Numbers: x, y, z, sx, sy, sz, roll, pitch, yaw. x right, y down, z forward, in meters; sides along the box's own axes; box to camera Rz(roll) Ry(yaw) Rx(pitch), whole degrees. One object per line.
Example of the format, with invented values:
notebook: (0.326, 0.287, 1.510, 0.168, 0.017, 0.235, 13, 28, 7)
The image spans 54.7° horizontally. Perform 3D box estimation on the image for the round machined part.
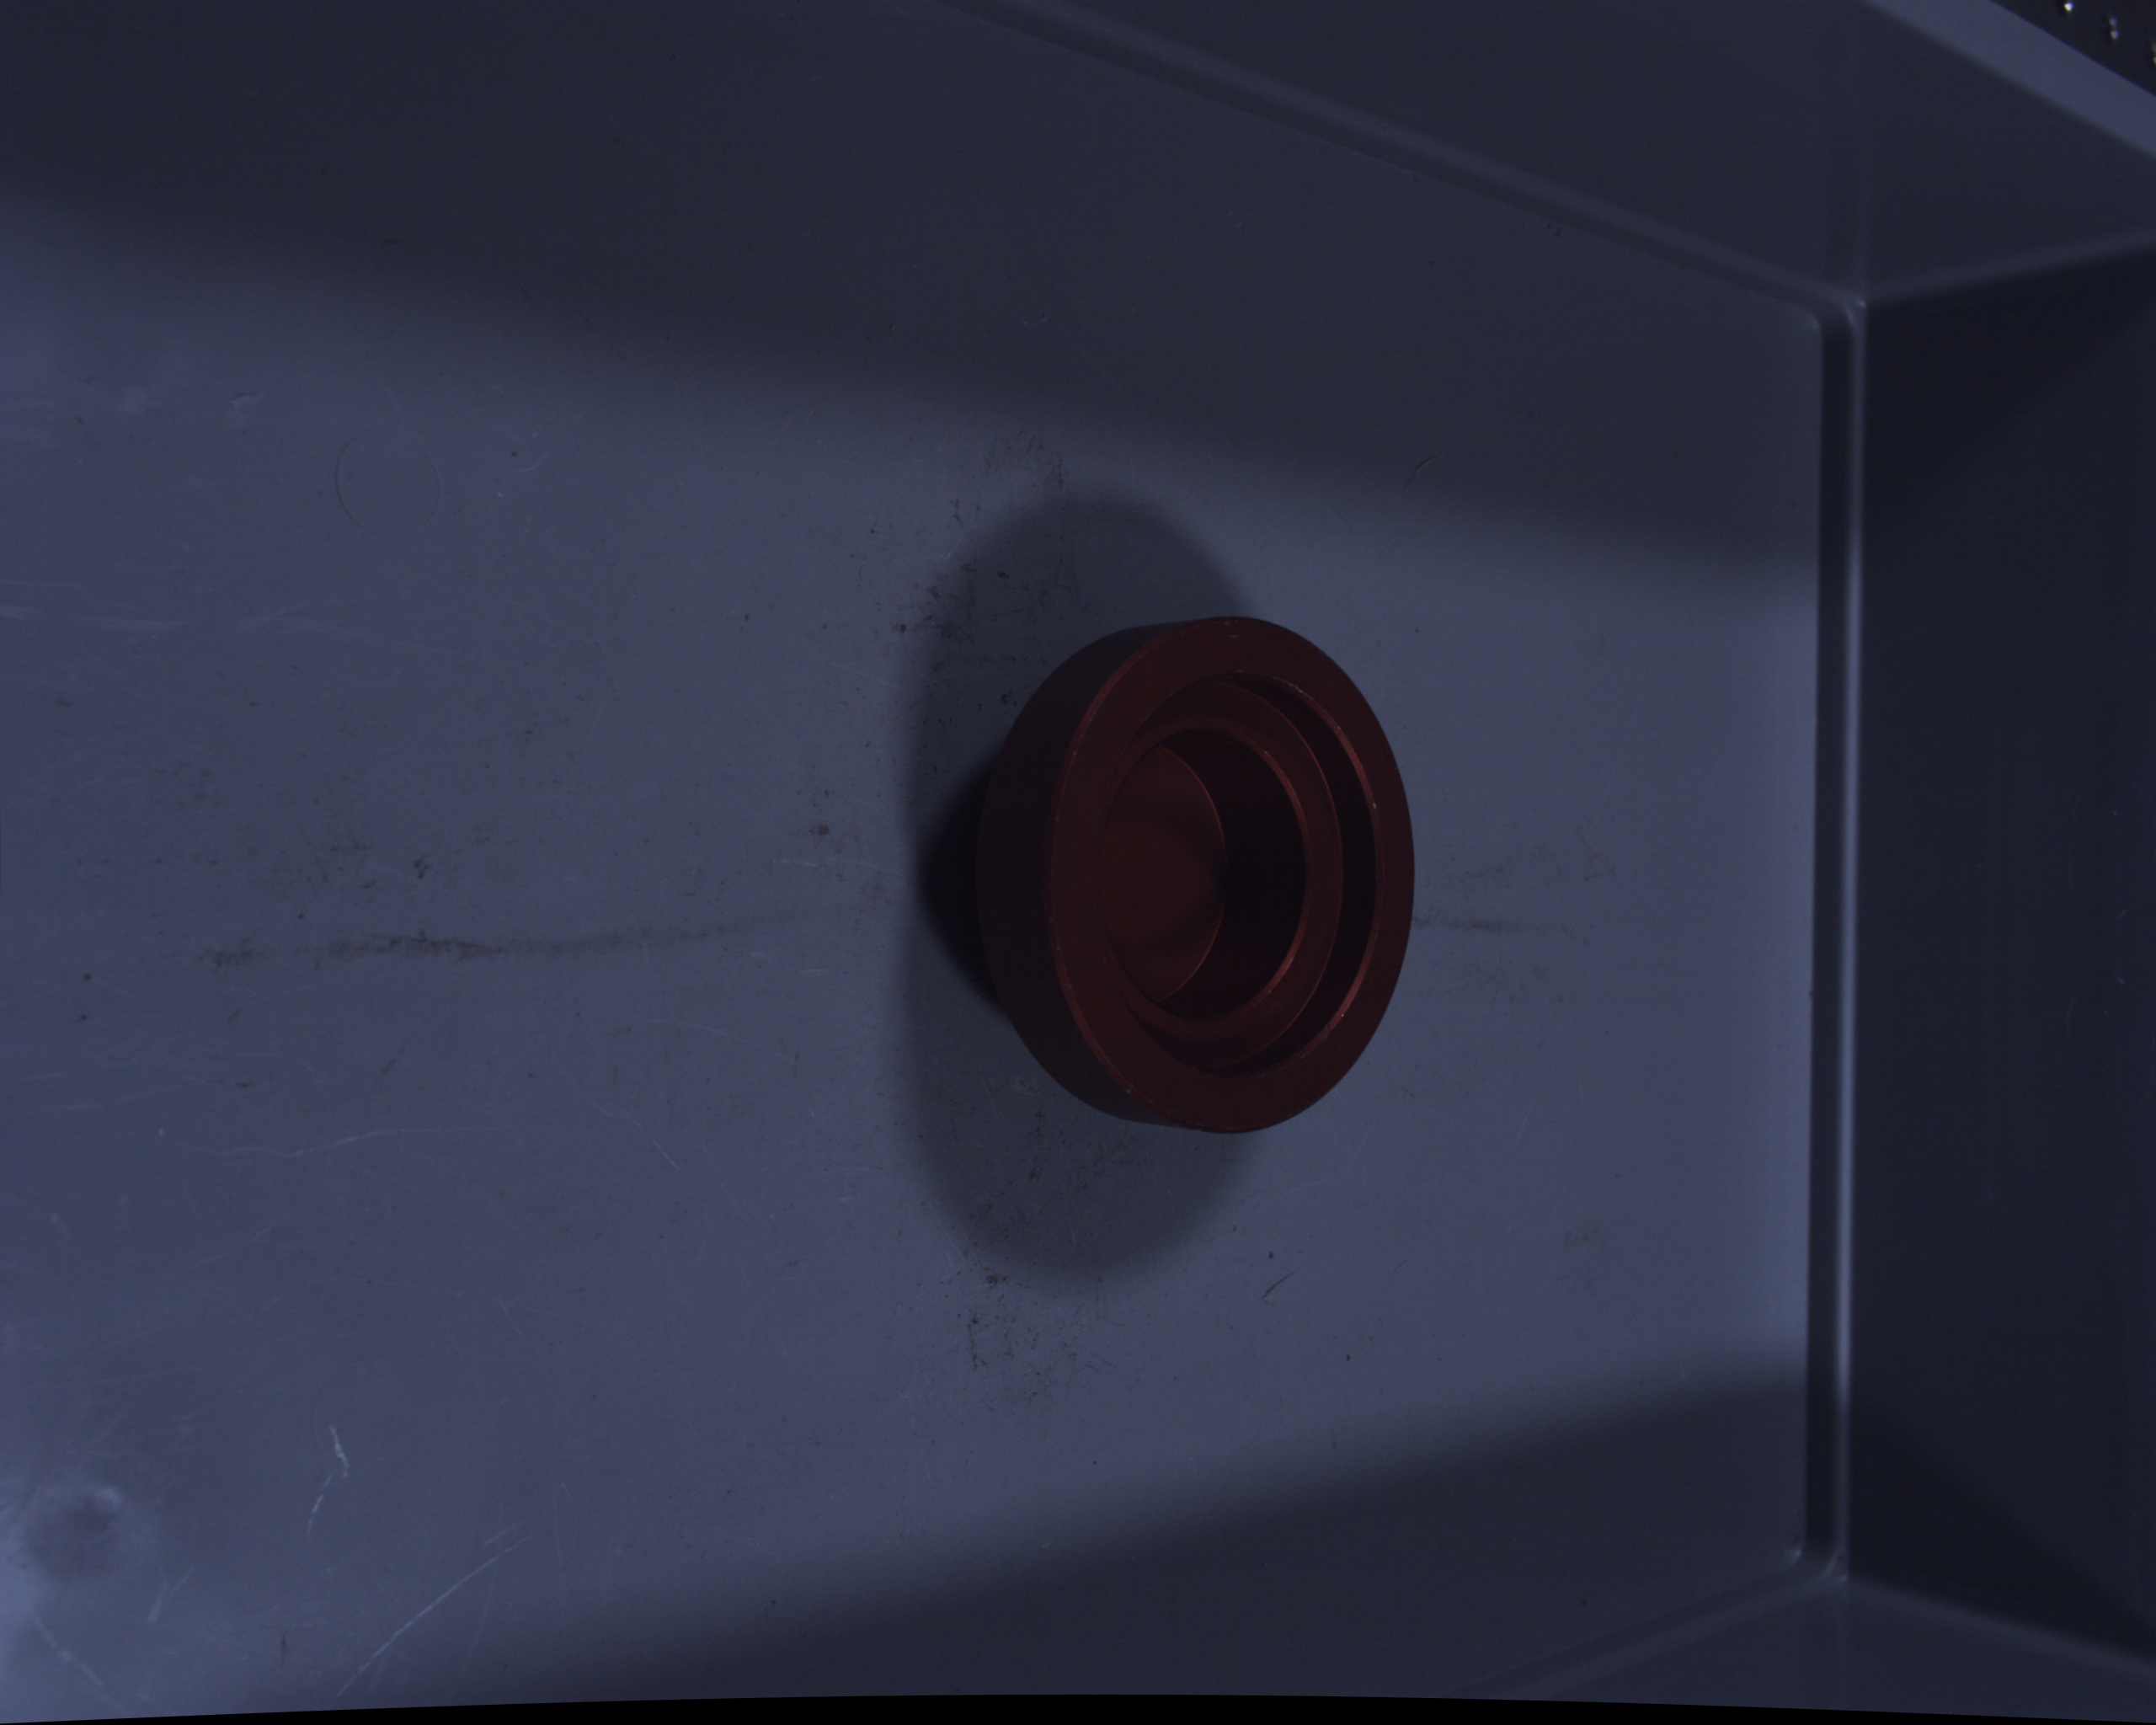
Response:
round machined part: (0.019, 0.002, 0.409, 0.099, 0.042, 0.097, 0, 90, -40)
